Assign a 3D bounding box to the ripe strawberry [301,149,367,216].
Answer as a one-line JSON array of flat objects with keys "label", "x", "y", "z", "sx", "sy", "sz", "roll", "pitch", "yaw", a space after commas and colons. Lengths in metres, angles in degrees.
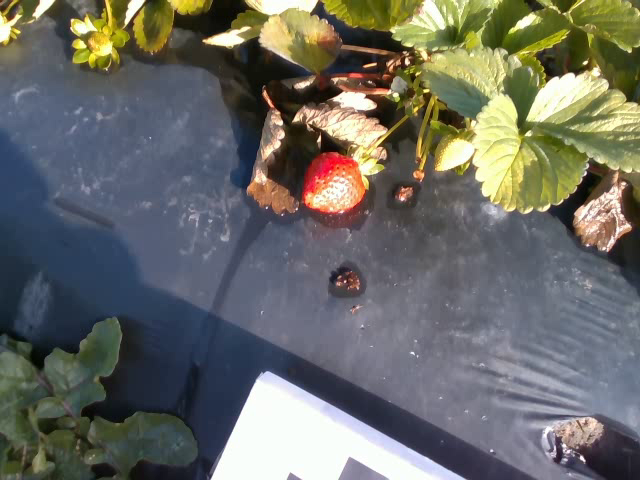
[{"label": "ripe strawberry", "x": 0.002, "y": -0.024, "z": 0.326, "sx": 0.054, "sy": 0.046, "sz": 0.037, "roll": -40, "pitch": -6, "yaw": -33}]
